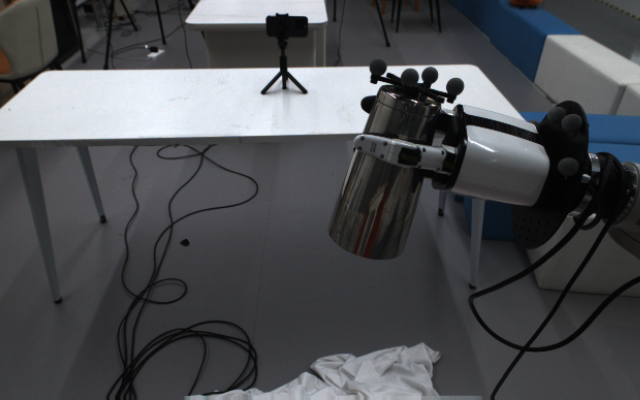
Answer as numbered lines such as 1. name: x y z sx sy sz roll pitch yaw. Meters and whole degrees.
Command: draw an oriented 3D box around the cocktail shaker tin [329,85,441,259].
1. cocktail shaker tin: 0.076 -0.034 0.528 0.093 0.170 0.093 12 25 -6
